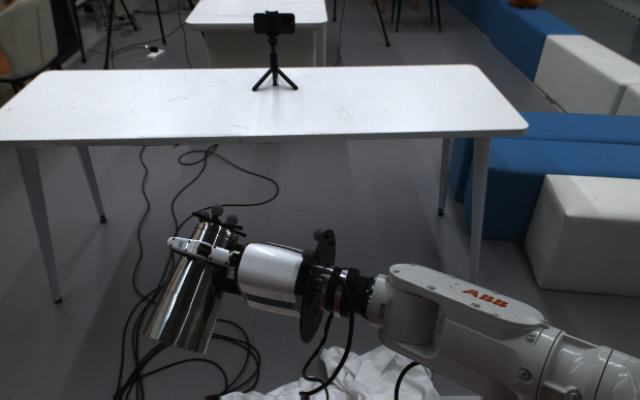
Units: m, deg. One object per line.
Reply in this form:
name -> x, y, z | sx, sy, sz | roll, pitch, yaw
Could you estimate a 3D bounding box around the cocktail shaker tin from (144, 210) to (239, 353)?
cocktail shaker tin -> -0.177, 0.119, 0.693 | 0.093, 0.093, 0.170 | 13, 71, 16
